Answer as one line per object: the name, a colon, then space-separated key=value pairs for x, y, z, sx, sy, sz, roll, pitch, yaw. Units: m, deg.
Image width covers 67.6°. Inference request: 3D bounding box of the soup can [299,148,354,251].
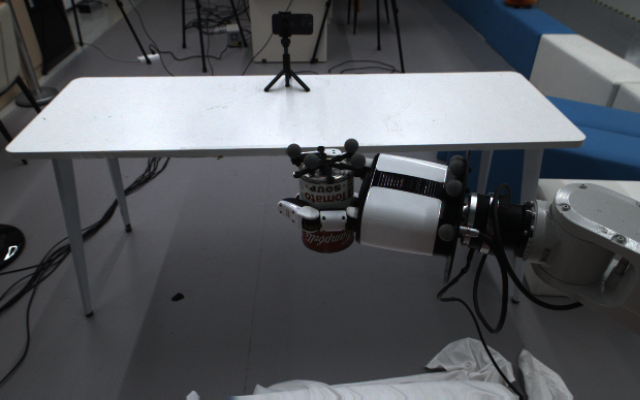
soup can: x=0.010 y=0.005 z=0.592 sx=0.067 sy=0.101 sz=0.067 roll=-2 pitch=32 yaw=1
